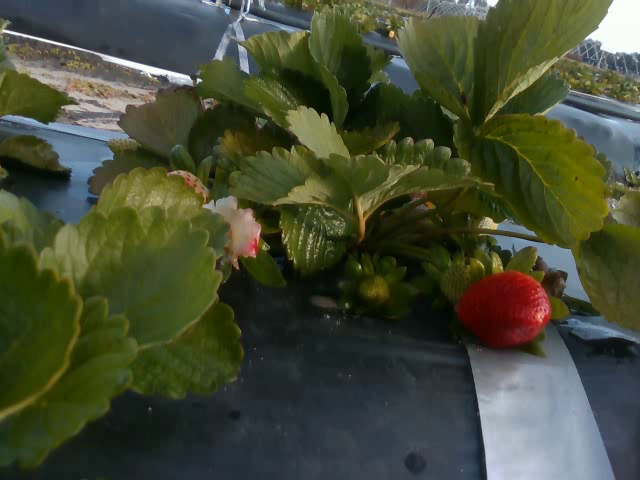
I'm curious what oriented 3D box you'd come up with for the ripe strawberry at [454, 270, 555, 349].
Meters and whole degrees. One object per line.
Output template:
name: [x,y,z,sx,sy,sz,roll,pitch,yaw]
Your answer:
ripe strawberry: [0.080,0.027,0.245,0.050,0.036,0.055,25,22,4]
